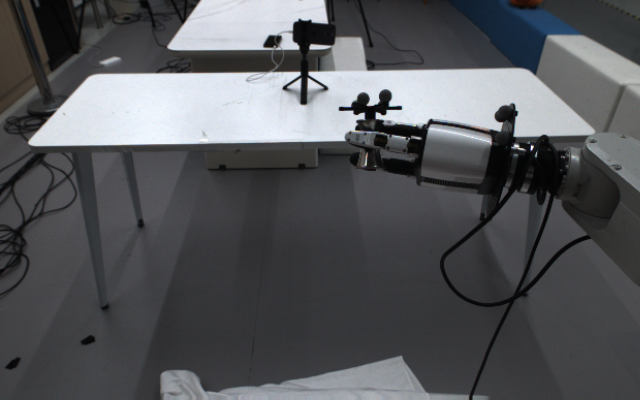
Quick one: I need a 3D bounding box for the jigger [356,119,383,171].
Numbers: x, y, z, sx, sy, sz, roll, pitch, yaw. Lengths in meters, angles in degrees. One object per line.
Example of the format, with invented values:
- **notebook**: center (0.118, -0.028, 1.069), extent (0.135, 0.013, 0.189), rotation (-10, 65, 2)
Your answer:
- **jigger**: center (0.072, -0.080, 0.694), extent (0.043, 0.071, 0.043), rotation (-1, 2, 0)
